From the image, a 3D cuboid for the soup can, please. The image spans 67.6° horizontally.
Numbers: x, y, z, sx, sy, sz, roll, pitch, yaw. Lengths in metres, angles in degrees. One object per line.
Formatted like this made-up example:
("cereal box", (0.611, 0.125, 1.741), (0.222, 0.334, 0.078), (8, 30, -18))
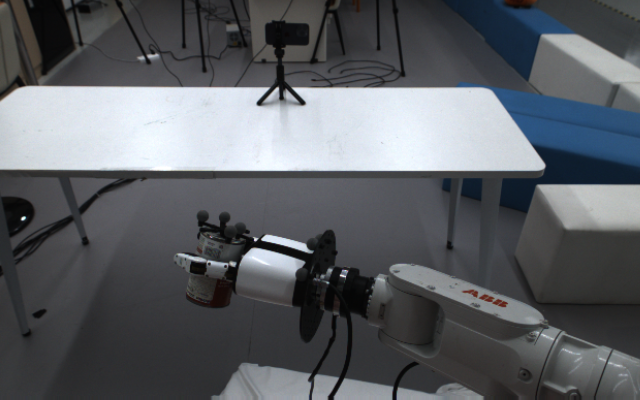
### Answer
("soup can", (-0.151, 0.099, 0.707), (0.067, 0.101, 0.067), (15, 7, -2))
